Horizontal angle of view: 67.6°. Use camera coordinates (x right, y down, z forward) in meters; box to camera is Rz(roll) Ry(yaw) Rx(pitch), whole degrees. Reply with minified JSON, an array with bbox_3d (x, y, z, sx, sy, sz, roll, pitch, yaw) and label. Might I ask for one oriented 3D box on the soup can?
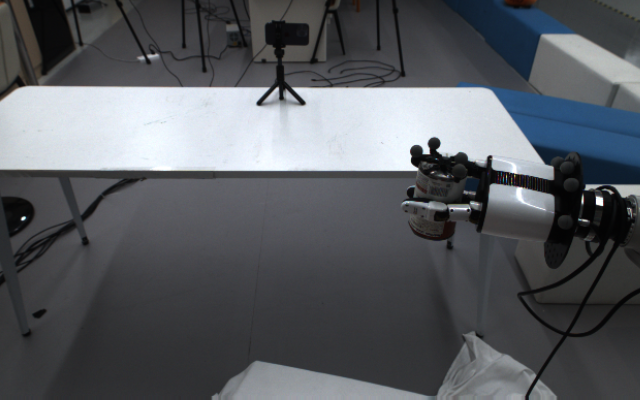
[{"bbox_3d":[0.167,-0.003,0.687,0.067,0.101,0.067,2,32,-1],"label":"soup can"}]
